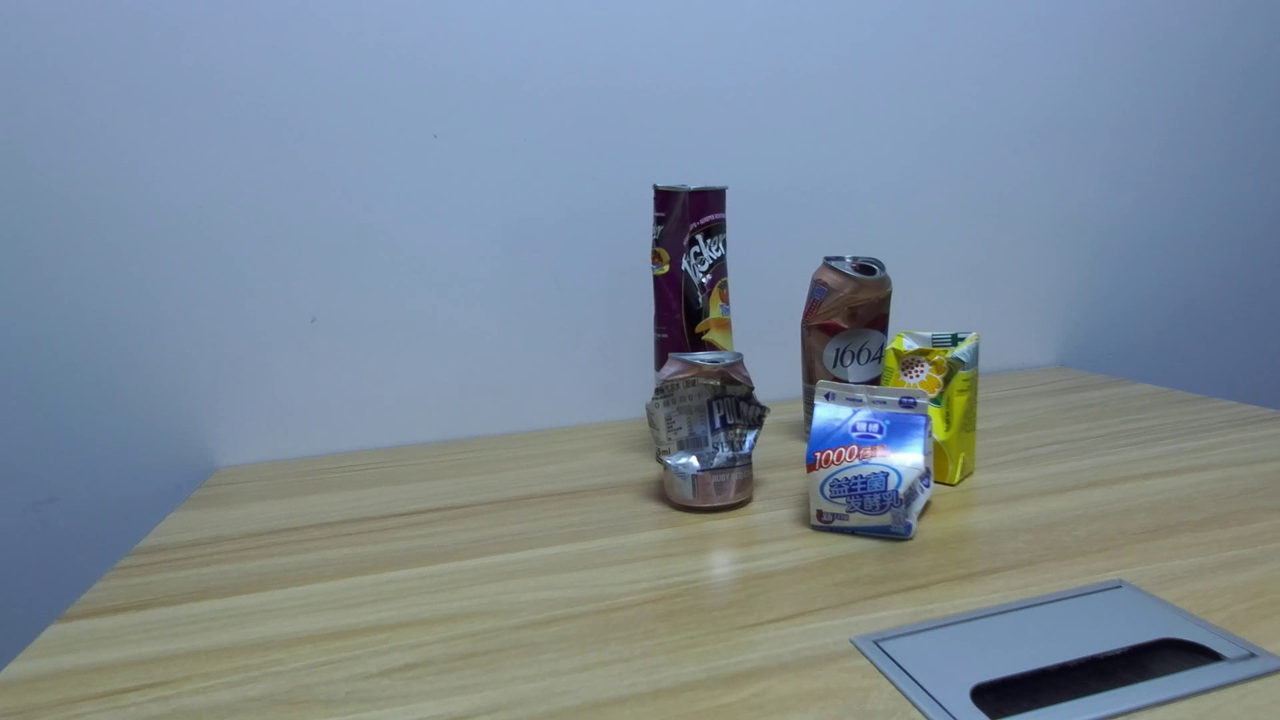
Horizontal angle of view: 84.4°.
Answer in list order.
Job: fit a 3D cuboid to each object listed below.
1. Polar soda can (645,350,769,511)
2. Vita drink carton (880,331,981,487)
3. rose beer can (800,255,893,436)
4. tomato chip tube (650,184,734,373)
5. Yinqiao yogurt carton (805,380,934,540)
[{"bbox_3d":[0.050,0.049,0.511,0.070,0.114,0.074,11,21,32],"label":"Polar soda can"},{"bbox_3d":[0.221,0.035,0.548,0.071,0.109,0.047,6,11,43],"label":"Vita drink carton"},{"bbox_3d":[0.182,-0.007,0.627,0.069,0.168,0.069,6,16,24],"label":"rose beer can"},{"bbox_3d":[0.047,-0.028,0.601,0.090,0.235,0.077,-4,12,-14],"label":"tomato chip tube"},{"bbox_3d":[0.151,0.060,0.461,0.074,0.097,0.080,1,19,24],"label":"Yinqiao yogurt carton"}]
